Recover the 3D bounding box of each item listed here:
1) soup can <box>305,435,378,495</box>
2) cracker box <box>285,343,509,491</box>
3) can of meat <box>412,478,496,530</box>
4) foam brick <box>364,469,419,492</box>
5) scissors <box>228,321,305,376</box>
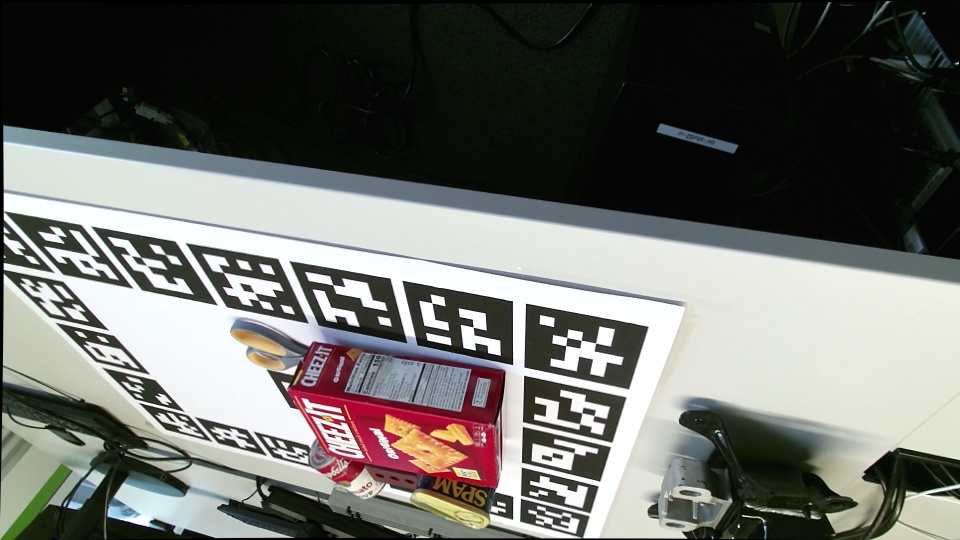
[{"bbox_3d":[-0.192,0.271,0.771,0.068,0.067,0.102,-22,127,36],"label":"soup can"},{"bbox_3d":[-0.083,0.165,0.589,0.214,0.071,0.164,3,135,13],"label":"cracker box"},{"bbox_3d":[-0.027,0.269,0.681,0.102,0.083,0.058,20,136,2],"label":"can of meat"},{"bbox_3d":[-0.113,0.264,0.736,0.078,0.051,0.053,2,133,19],"label":"foam brick"},{"bbox_3d":[-0.187,0.100,0.609,0.203,0.016,0.088,6,134,15],"label":"scissors"}]
